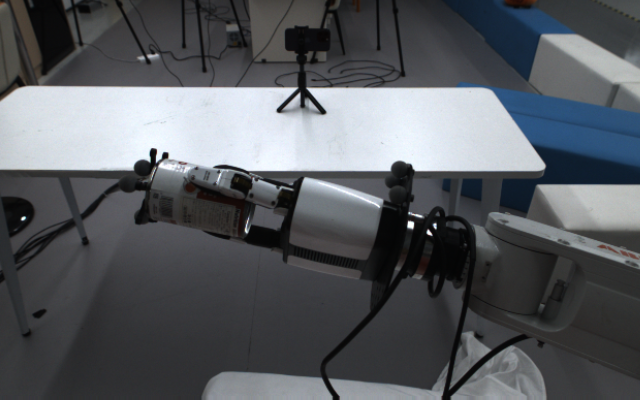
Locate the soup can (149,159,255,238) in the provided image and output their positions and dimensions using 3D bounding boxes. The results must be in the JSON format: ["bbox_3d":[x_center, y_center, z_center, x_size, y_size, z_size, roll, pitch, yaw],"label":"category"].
[{"bbox_3d":[-0.118,-0.001,0.509,0.101,0.067,0.067,11,35,-1],"label":"soup can"}]
